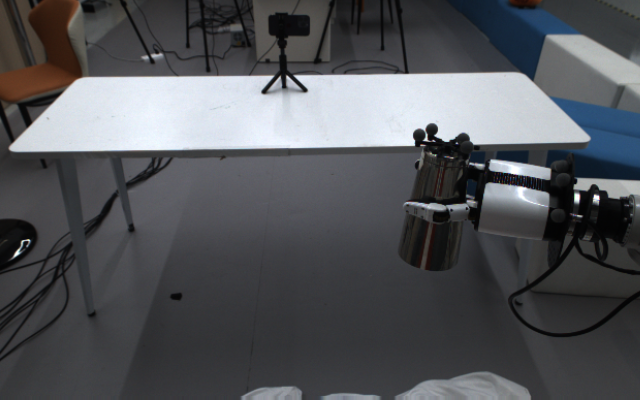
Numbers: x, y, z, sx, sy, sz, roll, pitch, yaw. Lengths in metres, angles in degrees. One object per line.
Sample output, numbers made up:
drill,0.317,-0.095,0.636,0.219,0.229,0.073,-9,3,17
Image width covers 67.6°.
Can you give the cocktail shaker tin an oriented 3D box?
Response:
cocktail shaker tin,0.172,0.006,0.711,0.093,0.170,0.093,3,26,-1
